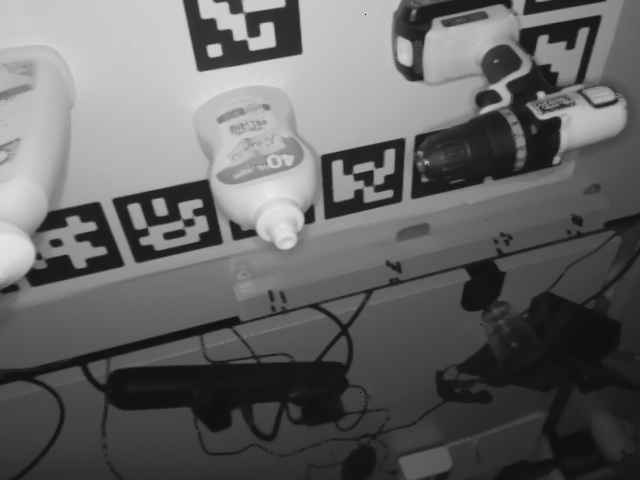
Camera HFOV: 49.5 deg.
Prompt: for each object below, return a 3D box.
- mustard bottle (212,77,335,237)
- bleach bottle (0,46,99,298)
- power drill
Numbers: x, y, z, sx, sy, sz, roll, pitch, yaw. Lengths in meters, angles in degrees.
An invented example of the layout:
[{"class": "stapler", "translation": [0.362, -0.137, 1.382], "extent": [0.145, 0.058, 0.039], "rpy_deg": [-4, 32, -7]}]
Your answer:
[{"class": "mustard bottle", "translation": [-0.038, -0.073, 0.622], "extent": [0.096, 0.192, 0.058], "rpy_deg": [-16, 135, -3]}, {"class": "bleach bottle", "translation": [-0.218, -0.058, 0.521], "extent": [0.103, 0.251, 0.067], "rpy_deg": [-5, 133, -15]}, {"class": "power drill", "translation": [0.151, -0.124, 0.603], "extent": [0.186, 0.187, 0.057], "rpy_deg": [-18, 135, -9]}]
